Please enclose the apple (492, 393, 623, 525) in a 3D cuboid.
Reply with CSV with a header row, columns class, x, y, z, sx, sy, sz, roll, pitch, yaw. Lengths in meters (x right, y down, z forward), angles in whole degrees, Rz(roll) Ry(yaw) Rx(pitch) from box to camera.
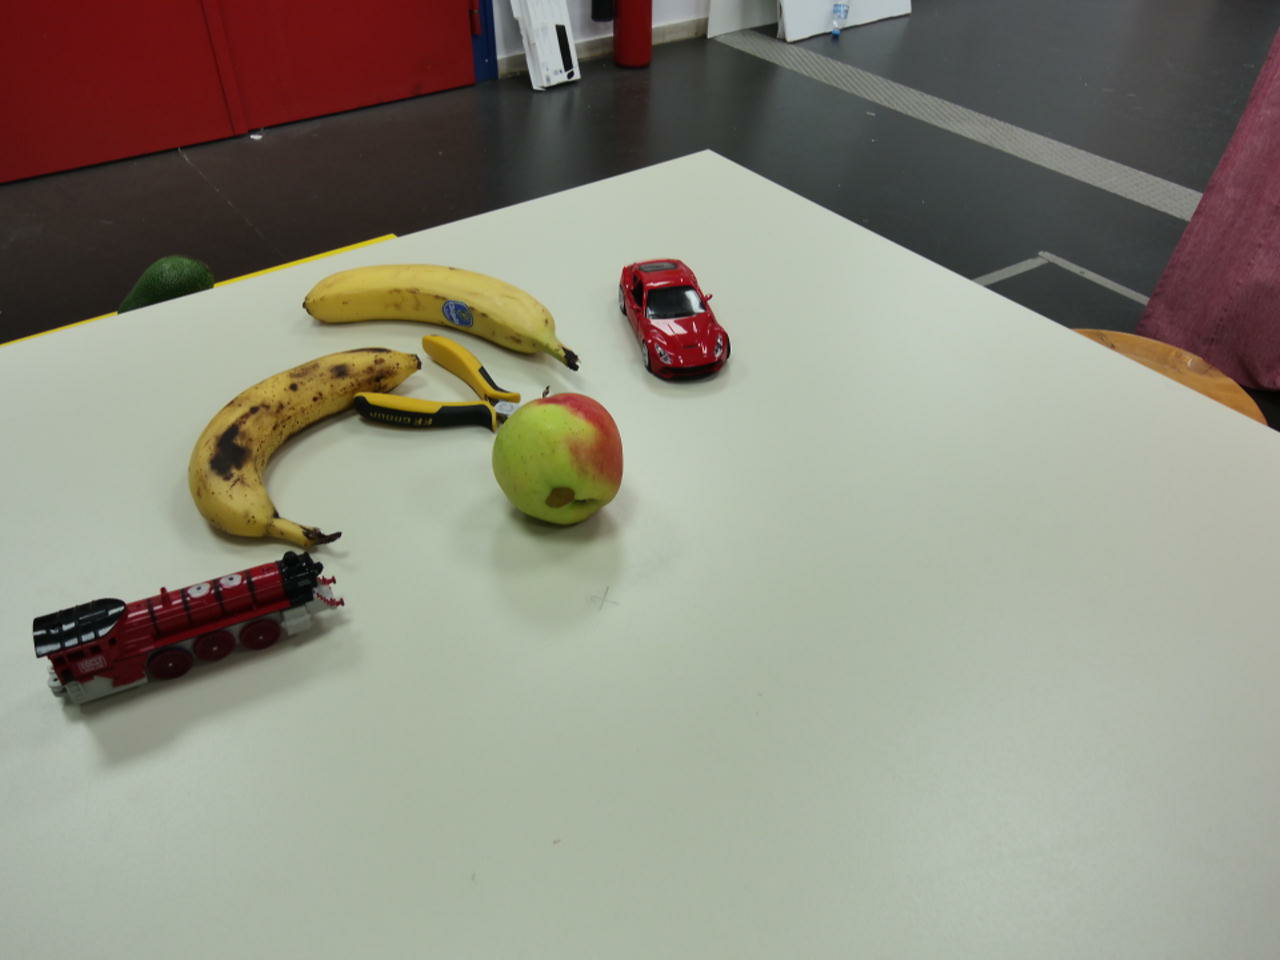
class,x,y,z,sx,sy,sz,roll,pitch,yaw
apple,-0.045,-0.013,0.580,0.075,0.074,0.075,23,43,26
